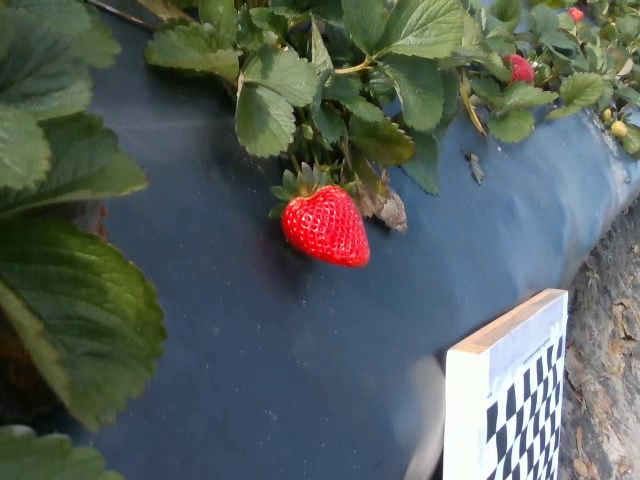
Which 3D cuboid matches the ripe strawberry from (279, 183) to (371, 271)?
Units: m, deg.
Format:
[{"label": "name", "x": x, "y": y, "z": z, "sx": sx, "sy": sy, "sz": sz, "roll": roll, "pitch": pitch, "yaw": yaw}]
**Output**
[{"label": "ripe strawberry", "x": 0.007, "y": -0.004, "z": 0.304, "sx": 0.058, "sy": 0.051, "sz": 0.045, "roll": 50, "pitch": 26, "yaw": 23}]
